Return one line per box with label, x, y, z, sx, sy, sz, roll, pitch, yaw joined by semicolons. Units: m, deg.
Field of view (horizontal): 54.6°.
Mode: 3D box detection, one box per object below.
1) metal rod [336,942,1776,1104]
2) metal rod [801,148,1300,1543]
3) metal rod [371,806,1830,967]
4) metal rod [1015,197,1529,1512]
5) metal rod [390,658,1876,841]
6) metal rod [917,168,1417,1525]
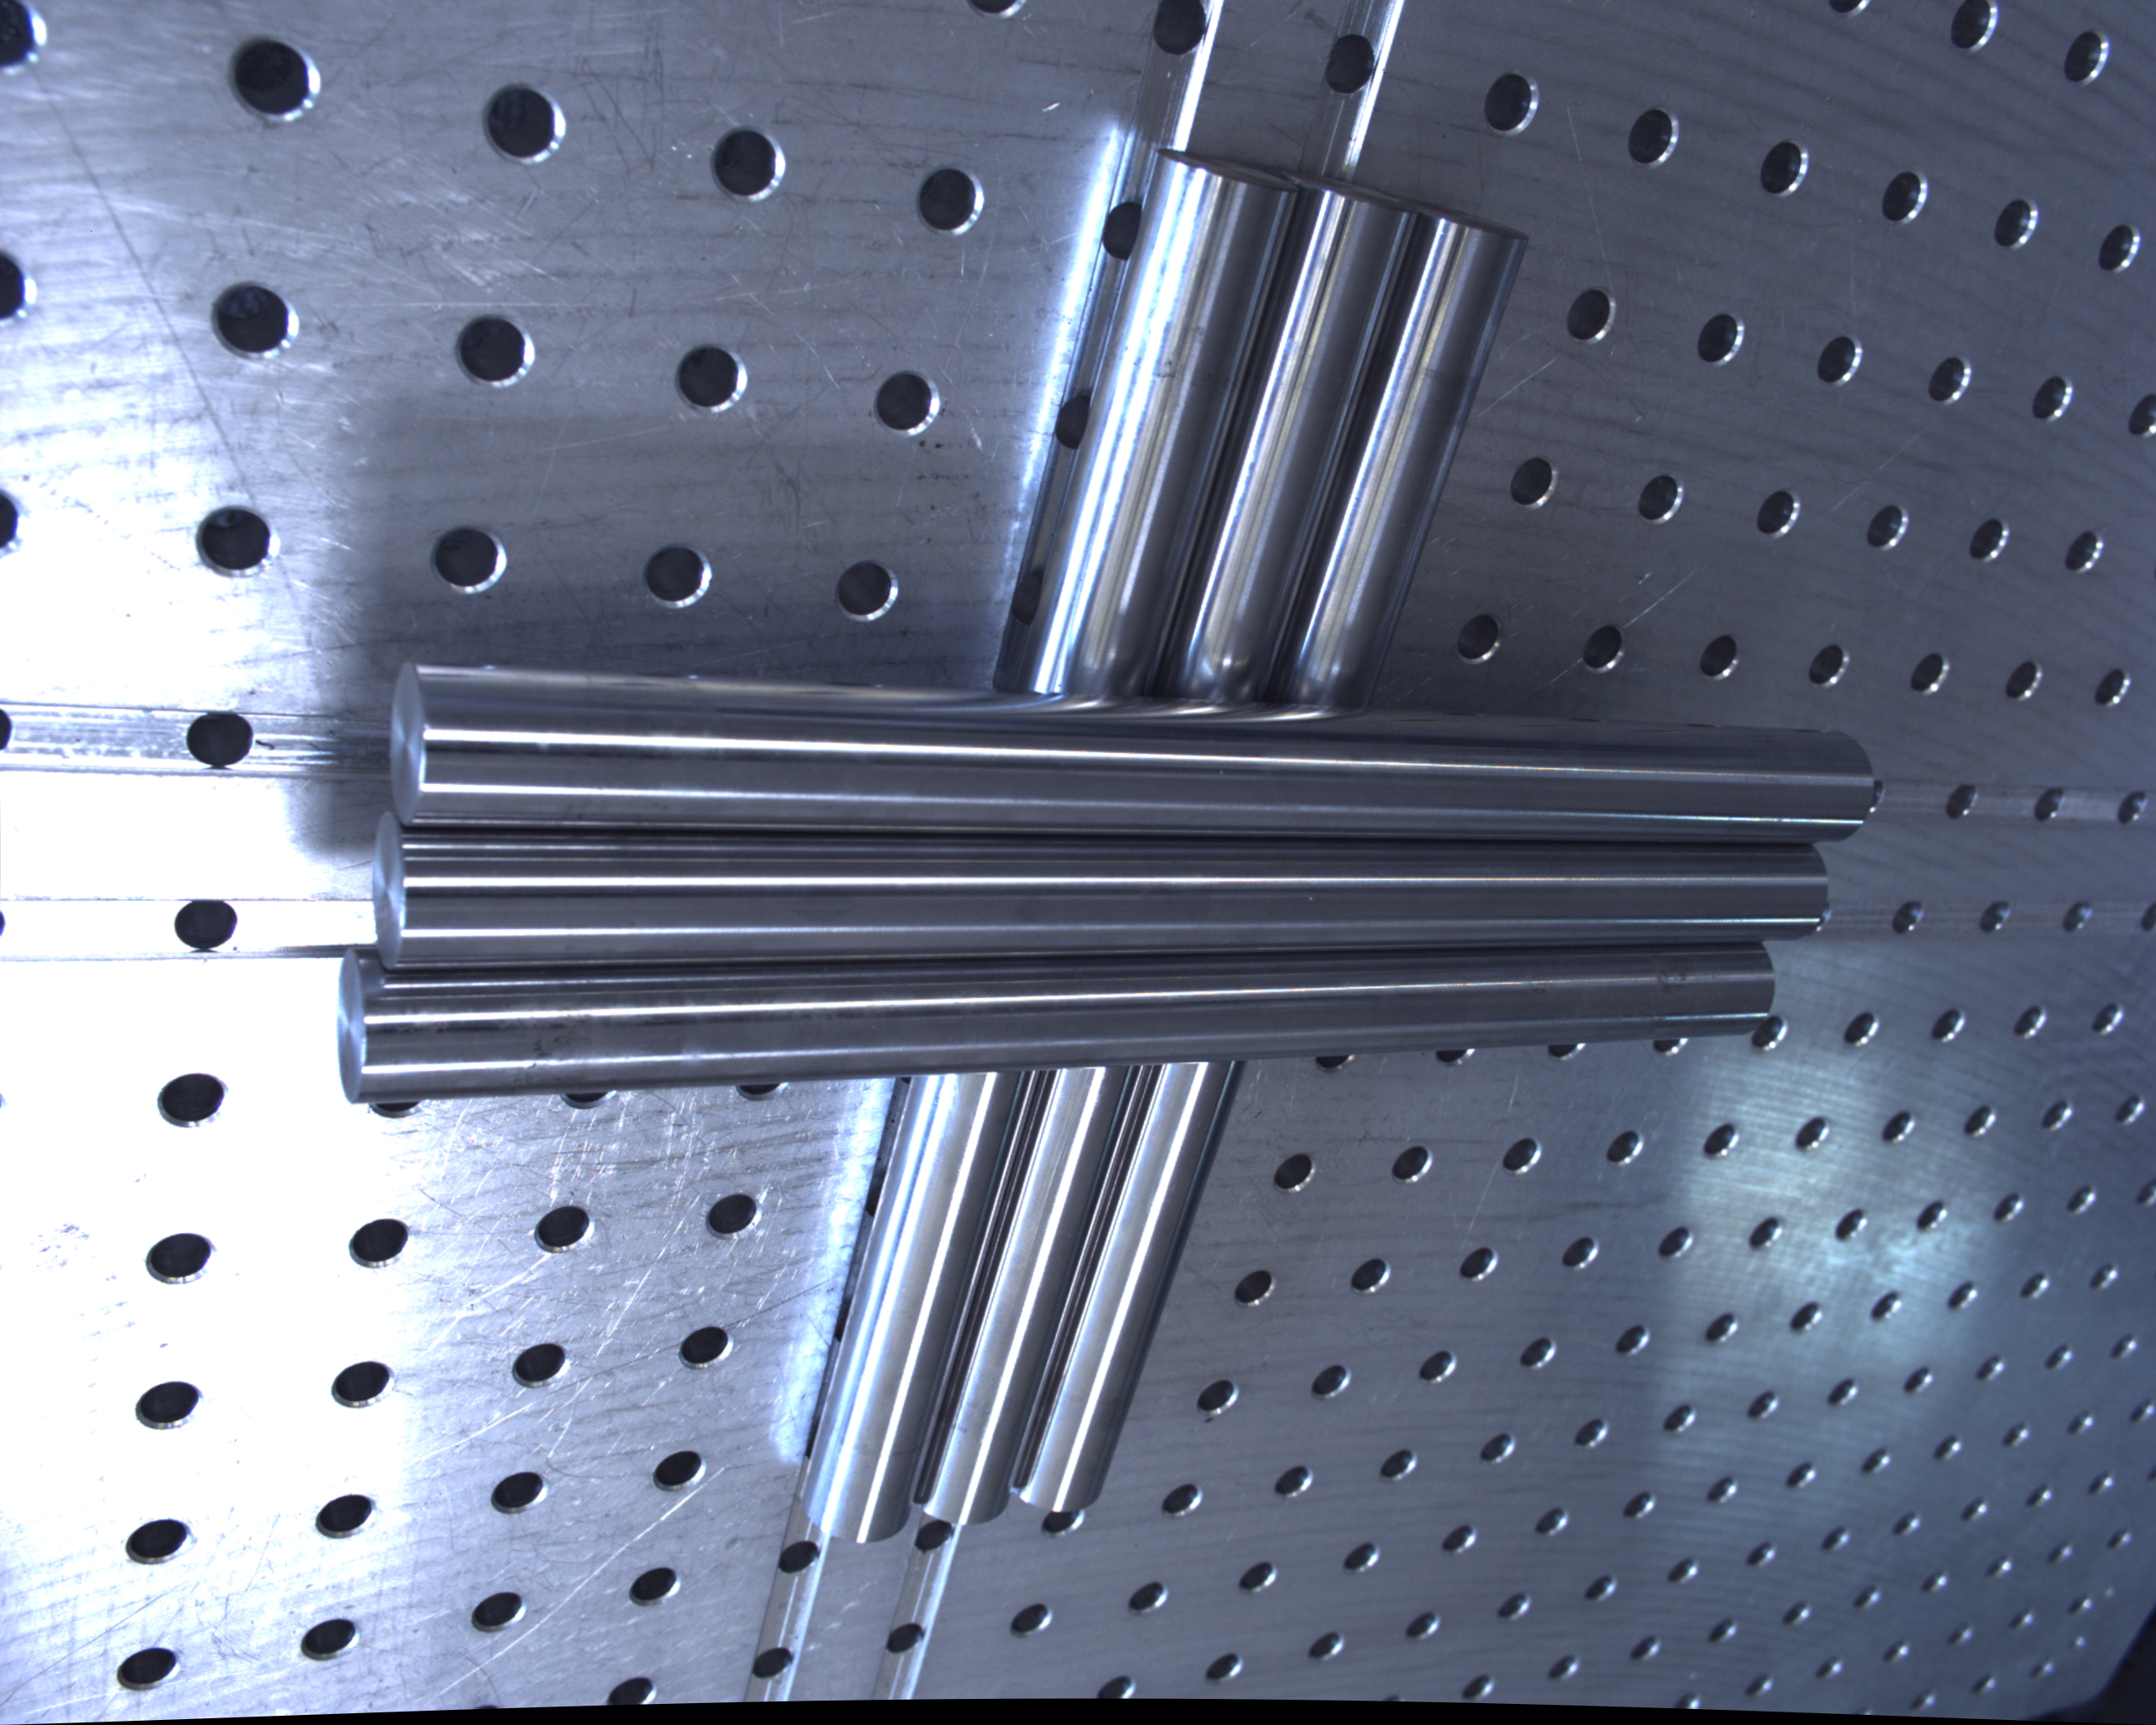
metal rod;0.017;0.026;0.404;0.302;0.025;0.025;0;118;-29
metal rod;-0.013;0.014;0.412;0.025;0.025;0.298;2;118;-29
metal rod;0.026;0.004;0.395;0.302;0.025;0.025;0;118;-29
metal rod;0.031;0.015;0.437;0.025;0.025;0.298;2;118;-29
metal rod;0.032;-0.017;0.385;0.302;0.025;0.025;0;118;-29
metal rod;0.009;0.014;0.424;0.025;0.025;0.298;2;118;-29
